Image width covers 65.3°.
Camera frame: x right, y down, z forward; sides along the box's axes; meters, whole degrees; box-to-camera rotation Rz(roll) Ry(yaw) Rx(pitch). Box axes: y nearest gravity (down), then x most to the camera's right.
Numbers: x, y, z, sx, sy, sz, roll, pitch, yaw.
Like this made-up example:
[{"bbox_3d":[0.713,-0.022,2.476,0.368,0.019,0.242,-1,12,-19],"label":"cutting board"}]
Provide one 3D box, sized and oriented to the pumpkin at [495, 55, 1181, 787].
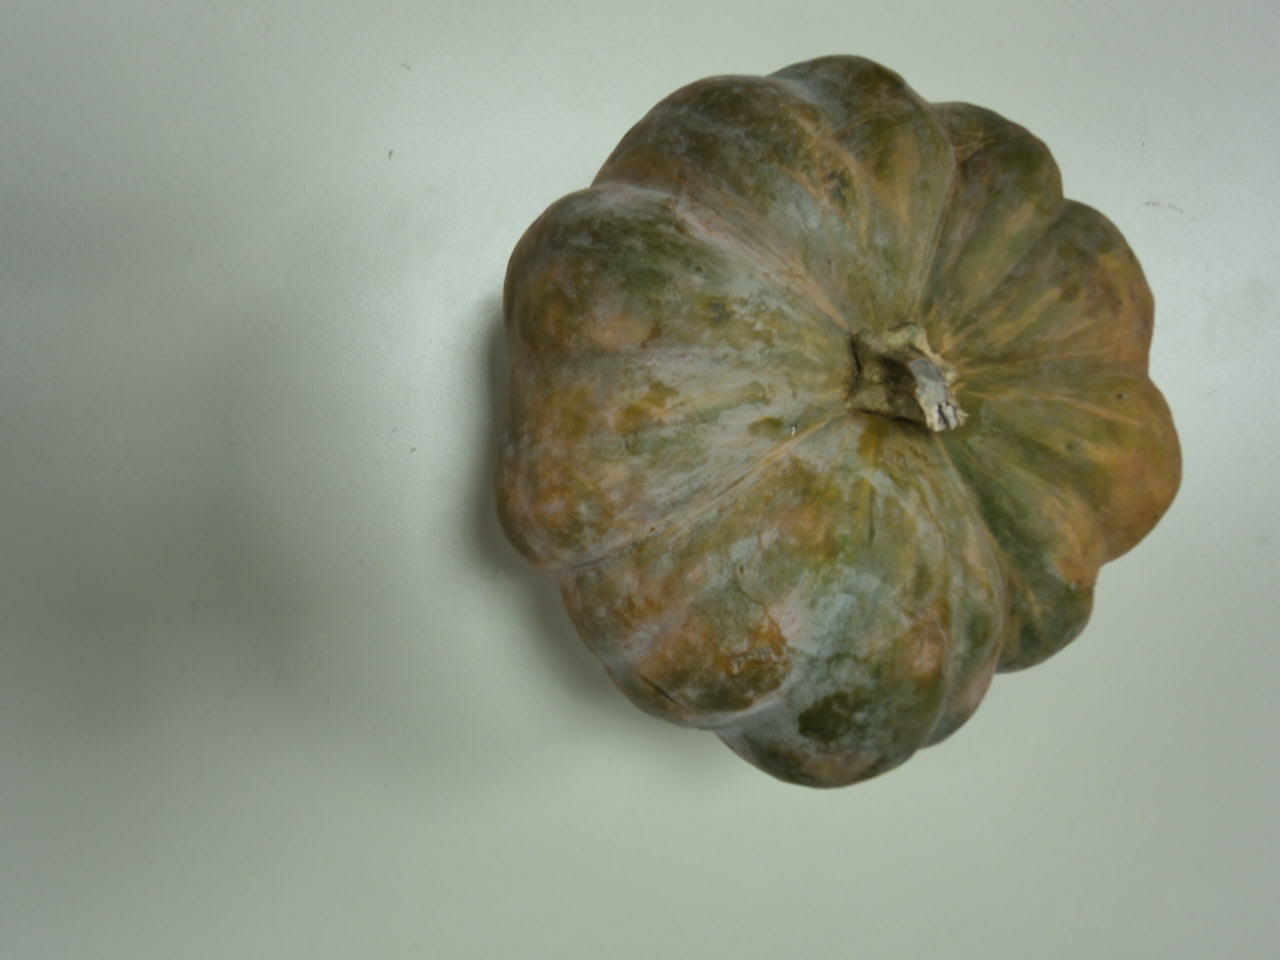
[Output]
[{"bbox_3d":[0.067,-0.027,0.366,0.252,0.169,0.252,0,91,-12],"label":"pumpkin"}]
